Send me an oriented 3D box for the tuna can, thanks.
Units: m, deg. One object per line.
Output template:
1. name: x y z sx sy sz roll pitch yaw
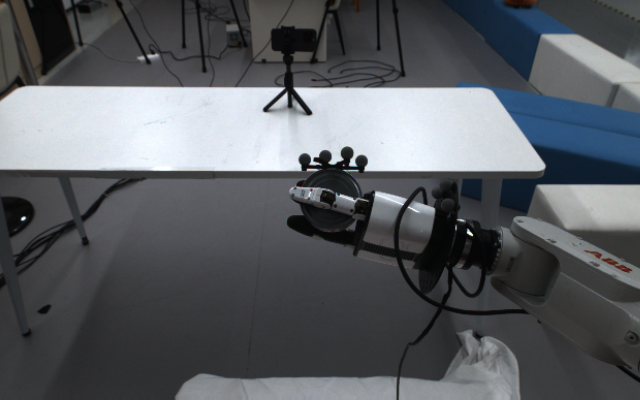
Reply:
1. tuna can: 0.016 0.001 0.667 0.085 0.034 0.085 -1 76 4
